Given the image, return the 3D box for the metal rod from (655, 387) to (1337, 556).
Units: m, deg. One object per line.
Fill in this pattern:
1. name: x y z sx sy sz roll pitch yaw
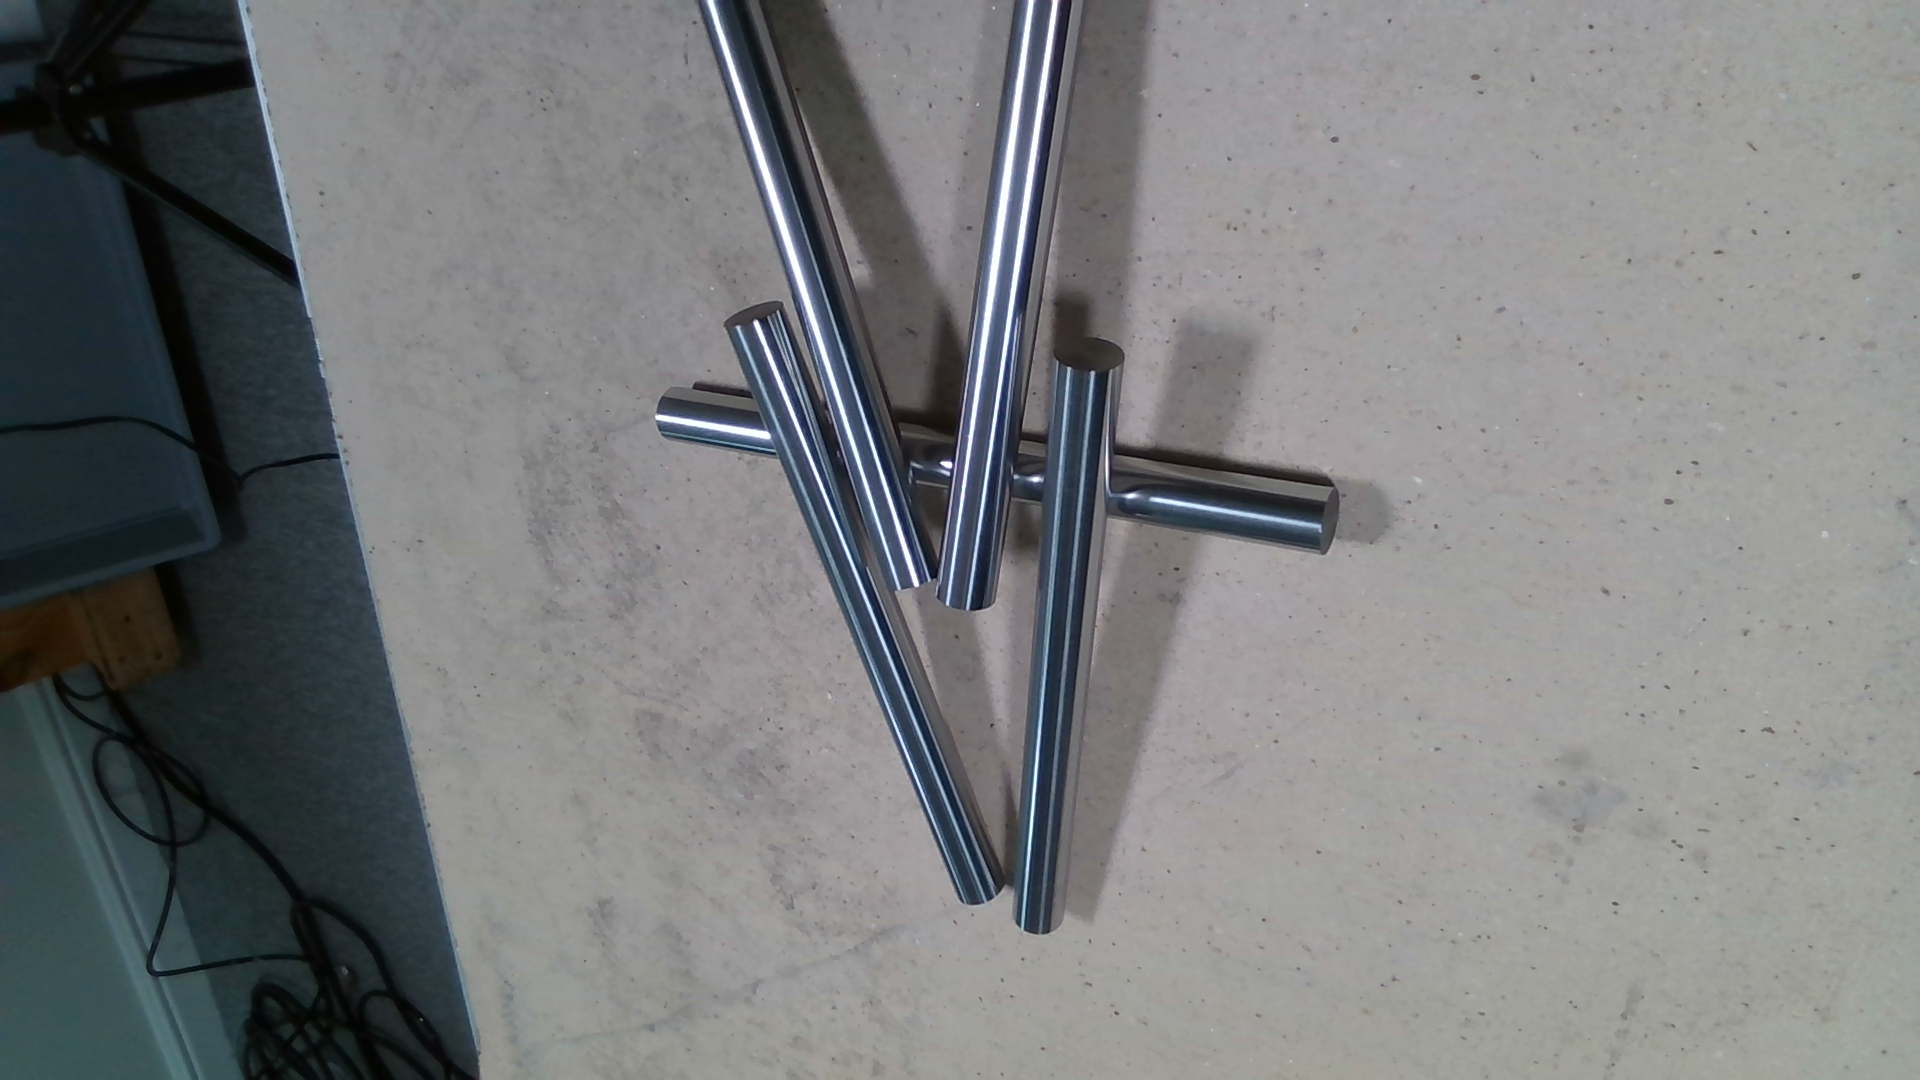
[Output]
1. metal rod: 0.001 -0.032 0.562 0.300 0.025 0.025 11 120 26

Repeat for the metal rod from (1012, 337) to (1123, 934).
1. metal rod: 0.040 0.056 0.565 0.025 0.025 0.301 19 130 22

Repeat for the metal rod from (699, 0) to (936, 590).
1. metal rod: -0.062 -0.125 0.531 0.025 0.025 0.300 -9 105 35

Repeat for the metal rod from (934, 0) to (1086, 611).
1. metal rod: 0.020 -0.111 0.488 0.025 0.025 0.301 19 118 22

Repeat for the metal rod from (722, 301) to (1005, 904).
1. metal rod: -0.036 0.039 0.603 0.025 0.025 0.301 -2 120 33
